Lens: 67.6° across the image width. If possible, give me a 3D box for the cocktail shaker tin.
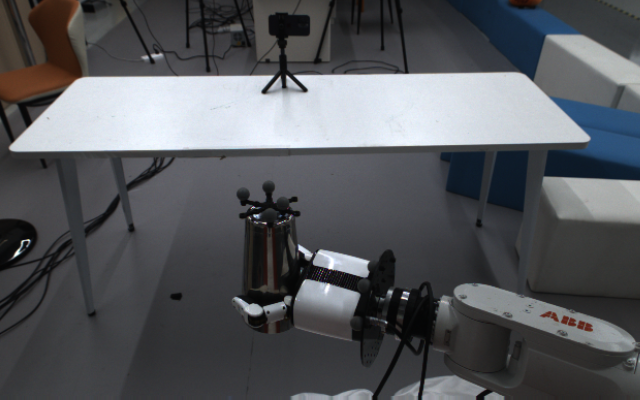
[{"bbox_3d":[-0.067,0.092,0.681,0.093,0.170,0.093,1,28,-1],"label":"cocktail shaker tin"}]
